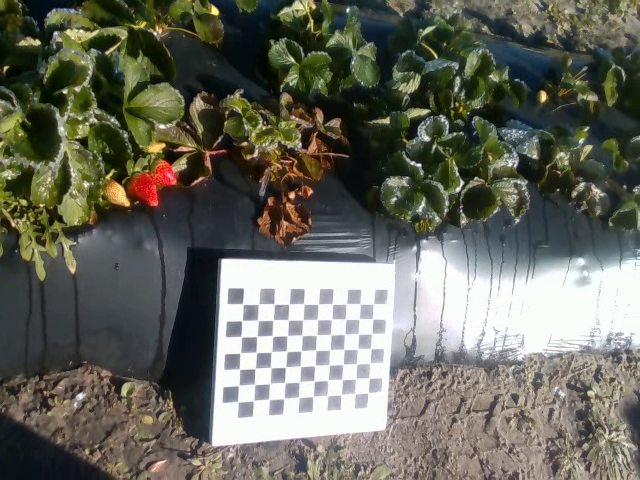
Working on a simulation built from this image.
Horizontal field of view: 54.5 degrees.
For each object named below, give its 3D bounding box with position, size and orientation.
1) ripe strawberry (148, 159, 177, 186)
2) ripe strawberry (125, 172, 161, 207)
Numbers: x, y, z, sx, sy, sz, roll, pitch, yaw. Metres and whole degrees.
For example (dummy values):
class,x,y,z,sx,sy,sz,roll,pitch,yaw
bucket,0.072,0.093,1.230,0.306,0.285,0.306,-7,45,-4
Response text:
class,x,y,z,sx,sy,sz,roll,pitch,yaw
ripe strawberry,-0.203,-0.086,0.804,0.041,0.036,0.030,31,-10,-17
ripe strawberry,-0.218,-0.058,0.779,0.036,0.052,0.040,-38,-21,-18
